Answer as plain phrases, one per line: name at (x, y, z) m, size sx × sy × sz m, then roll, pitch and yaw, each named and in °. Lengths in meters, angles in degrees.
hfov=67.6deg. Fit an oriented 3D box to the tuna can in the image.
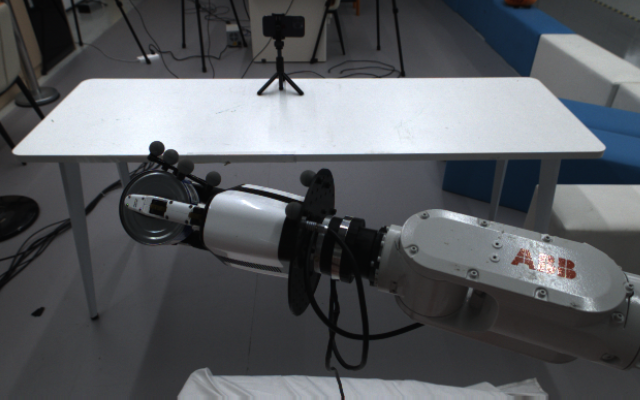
tuna can at (-0.180, 0.014, 0.552) m, size 0.085 × 0.085 × 0.034 m, roll 9°, pitch -4°, yaw 10°
